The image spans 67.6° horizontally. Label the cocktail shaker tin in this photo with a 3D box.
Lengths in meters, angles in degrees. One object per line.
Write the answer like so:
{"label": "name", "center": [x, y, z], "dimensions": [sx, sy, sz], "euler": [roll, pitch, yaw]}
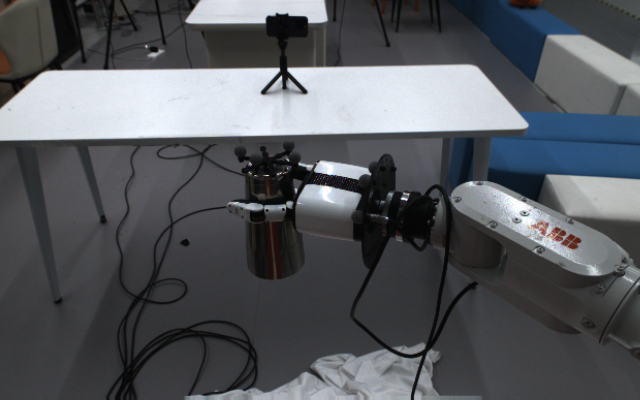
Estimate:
{"label": "cocktail shaker tin", "center": [-0.068, 0.022, 0.726], "dimensions": [0.093, 0.170, 0.093], "euler": [-1, 32, 1]}
